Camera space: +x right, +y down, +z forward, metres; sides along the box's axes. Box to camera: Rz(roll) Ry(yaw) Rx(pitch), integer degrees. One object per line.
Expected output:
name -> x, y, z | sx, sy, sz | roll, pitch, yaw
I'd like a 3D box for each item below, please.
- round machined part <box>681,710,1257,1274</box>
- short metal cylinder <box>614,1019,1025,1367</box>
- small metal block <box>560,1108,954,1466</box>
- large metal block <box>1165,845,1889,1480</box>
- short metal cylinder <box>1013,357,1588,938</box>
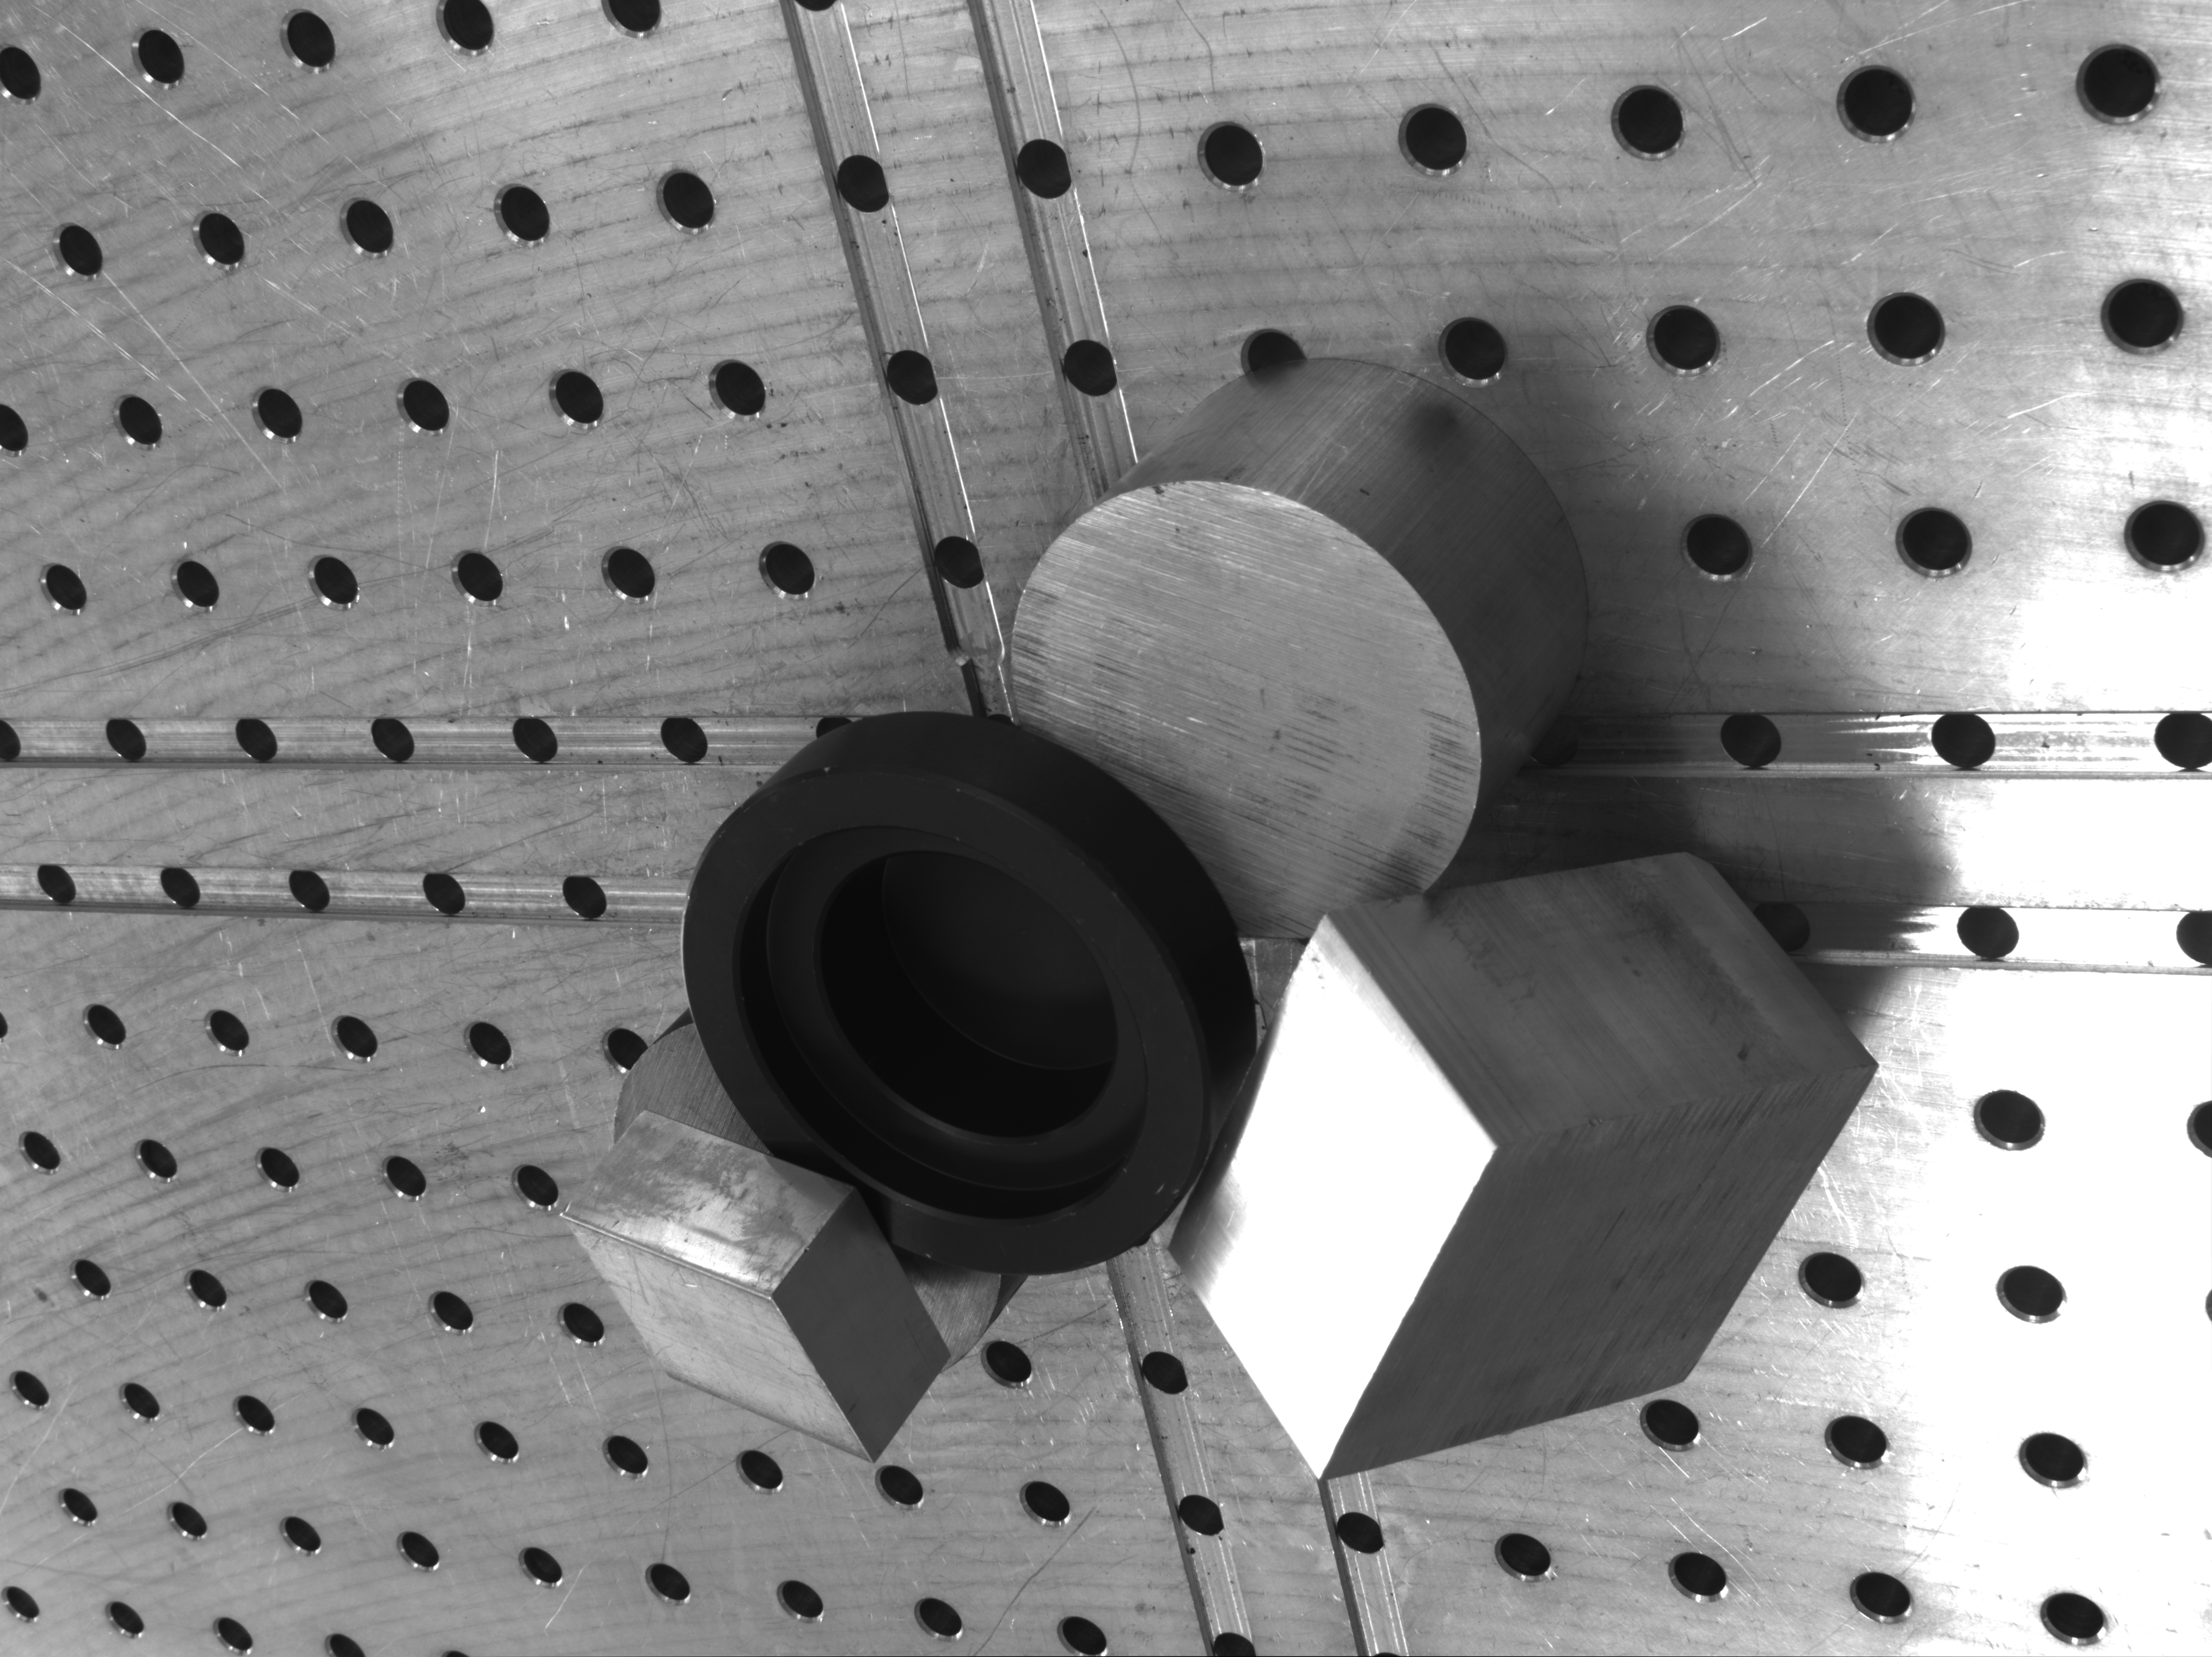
round machined part -> -0.019, 0.023, 0.622 | 0.098, 0.042, 0.098 | 13, 124, 21
short metal cylinder -> -0.044, 0.057, 0.688 | 0.080, 0.050, 0.080 | 13, 124, 21
small metal block -> -0.061, 0.081, 0.647 | 0.050, 0.025, 0.050 | 15, 145, 34
large metal block -> 0.067, 0.053, 0.599 | 0.050, 0.080, 0.080 | 55, 138, 35
short metal cylinder -> 0.032, -0.029, 0.595 | 0.080, 0.050, 0.080 | 13, 124, 21
